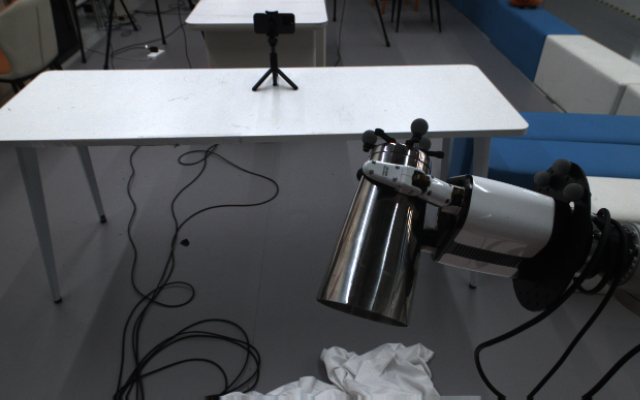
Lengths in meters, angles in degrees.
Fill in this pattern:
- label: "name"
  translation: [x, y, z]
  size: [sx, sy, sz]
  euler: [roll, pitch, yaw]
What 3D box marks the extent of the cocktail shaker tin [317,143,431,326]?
- label: "cocktail shaker tin"
  translation: [0.065, 0.030, 0.494]
  size: [0.093, 0.093, 0.170]
  euler: [12, 72, 14]
